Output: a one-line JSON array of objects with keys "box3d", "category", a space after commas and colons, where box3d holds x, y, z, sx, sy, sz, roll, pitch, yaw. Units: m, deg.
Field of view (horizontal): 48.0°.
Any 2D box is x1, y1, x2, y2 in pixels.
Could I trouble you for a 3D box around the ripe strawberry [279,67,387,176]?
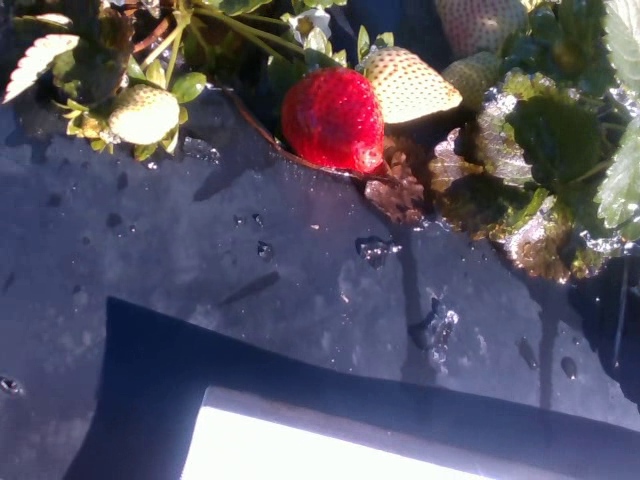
[{"box3d": [0.009, -0.037, 0.239, 0.040, 0.042, 0.053, -21, 36, -7], "category": "ripe strawberry"}]
